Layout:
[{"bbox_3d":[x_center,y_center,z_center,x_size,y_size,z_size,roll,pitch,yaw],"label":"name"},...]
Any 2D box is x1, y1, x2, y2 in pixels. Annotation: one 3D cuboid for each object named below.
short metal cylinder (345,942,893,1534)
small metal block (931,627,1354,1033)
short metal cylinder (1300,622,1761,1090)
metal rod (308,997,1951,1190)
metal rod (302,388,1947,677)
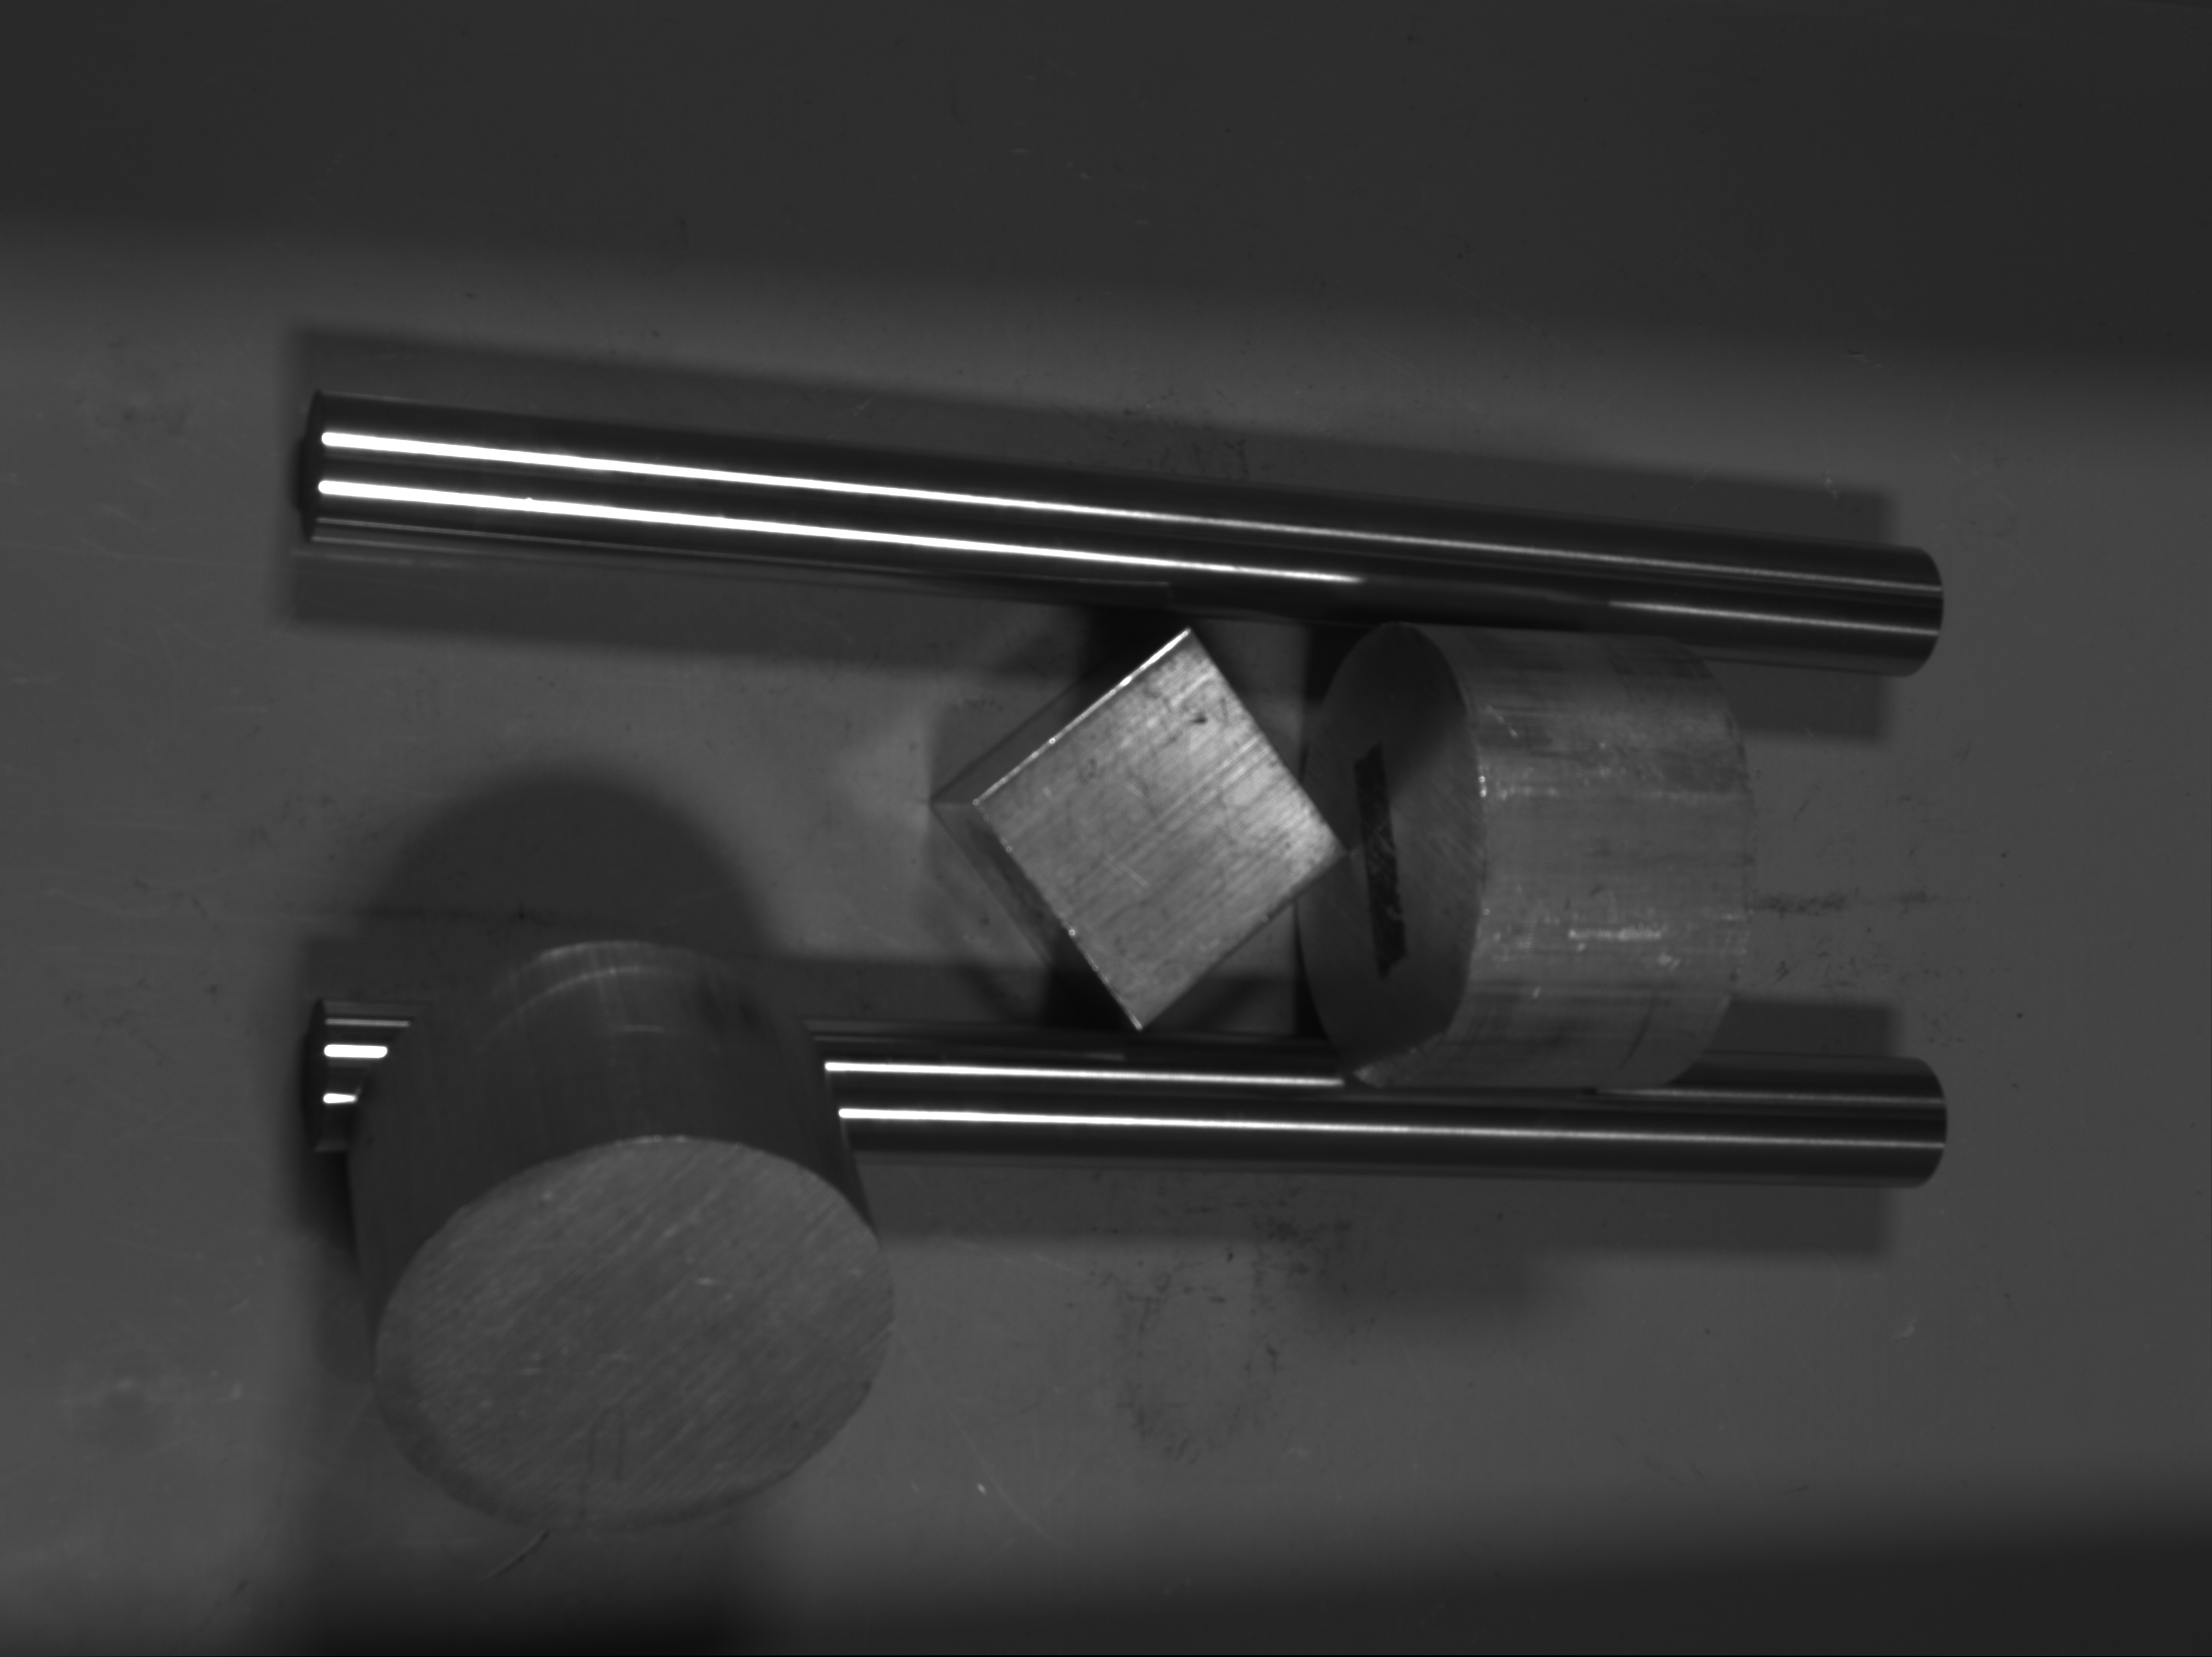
[{"bbox_3d":[-0.078,0.065,0.582,0.080,0.050,0.080,-9,126,-12],"label":"short metal cylinder"},{"bbox_3d":[0.006,0.000,0.644,0.050,0.025,0.050,-39,102,-16],"label":"small metal block"},{"bbox_3d":[0.072,0.005,0.639,0.050,0.080,0.080,2,89,-20],"label":"short metal cylinder"},{"bbox_3d":[0.013,0.048,0.646,0.301,0.025,0.025,3,89,-20],"label":"metal rod"},{"bbox_3d":[0.012,-0.050,0.646,0.301,0.025,0.025,4,89,-20],"label":"metal rod"}]
